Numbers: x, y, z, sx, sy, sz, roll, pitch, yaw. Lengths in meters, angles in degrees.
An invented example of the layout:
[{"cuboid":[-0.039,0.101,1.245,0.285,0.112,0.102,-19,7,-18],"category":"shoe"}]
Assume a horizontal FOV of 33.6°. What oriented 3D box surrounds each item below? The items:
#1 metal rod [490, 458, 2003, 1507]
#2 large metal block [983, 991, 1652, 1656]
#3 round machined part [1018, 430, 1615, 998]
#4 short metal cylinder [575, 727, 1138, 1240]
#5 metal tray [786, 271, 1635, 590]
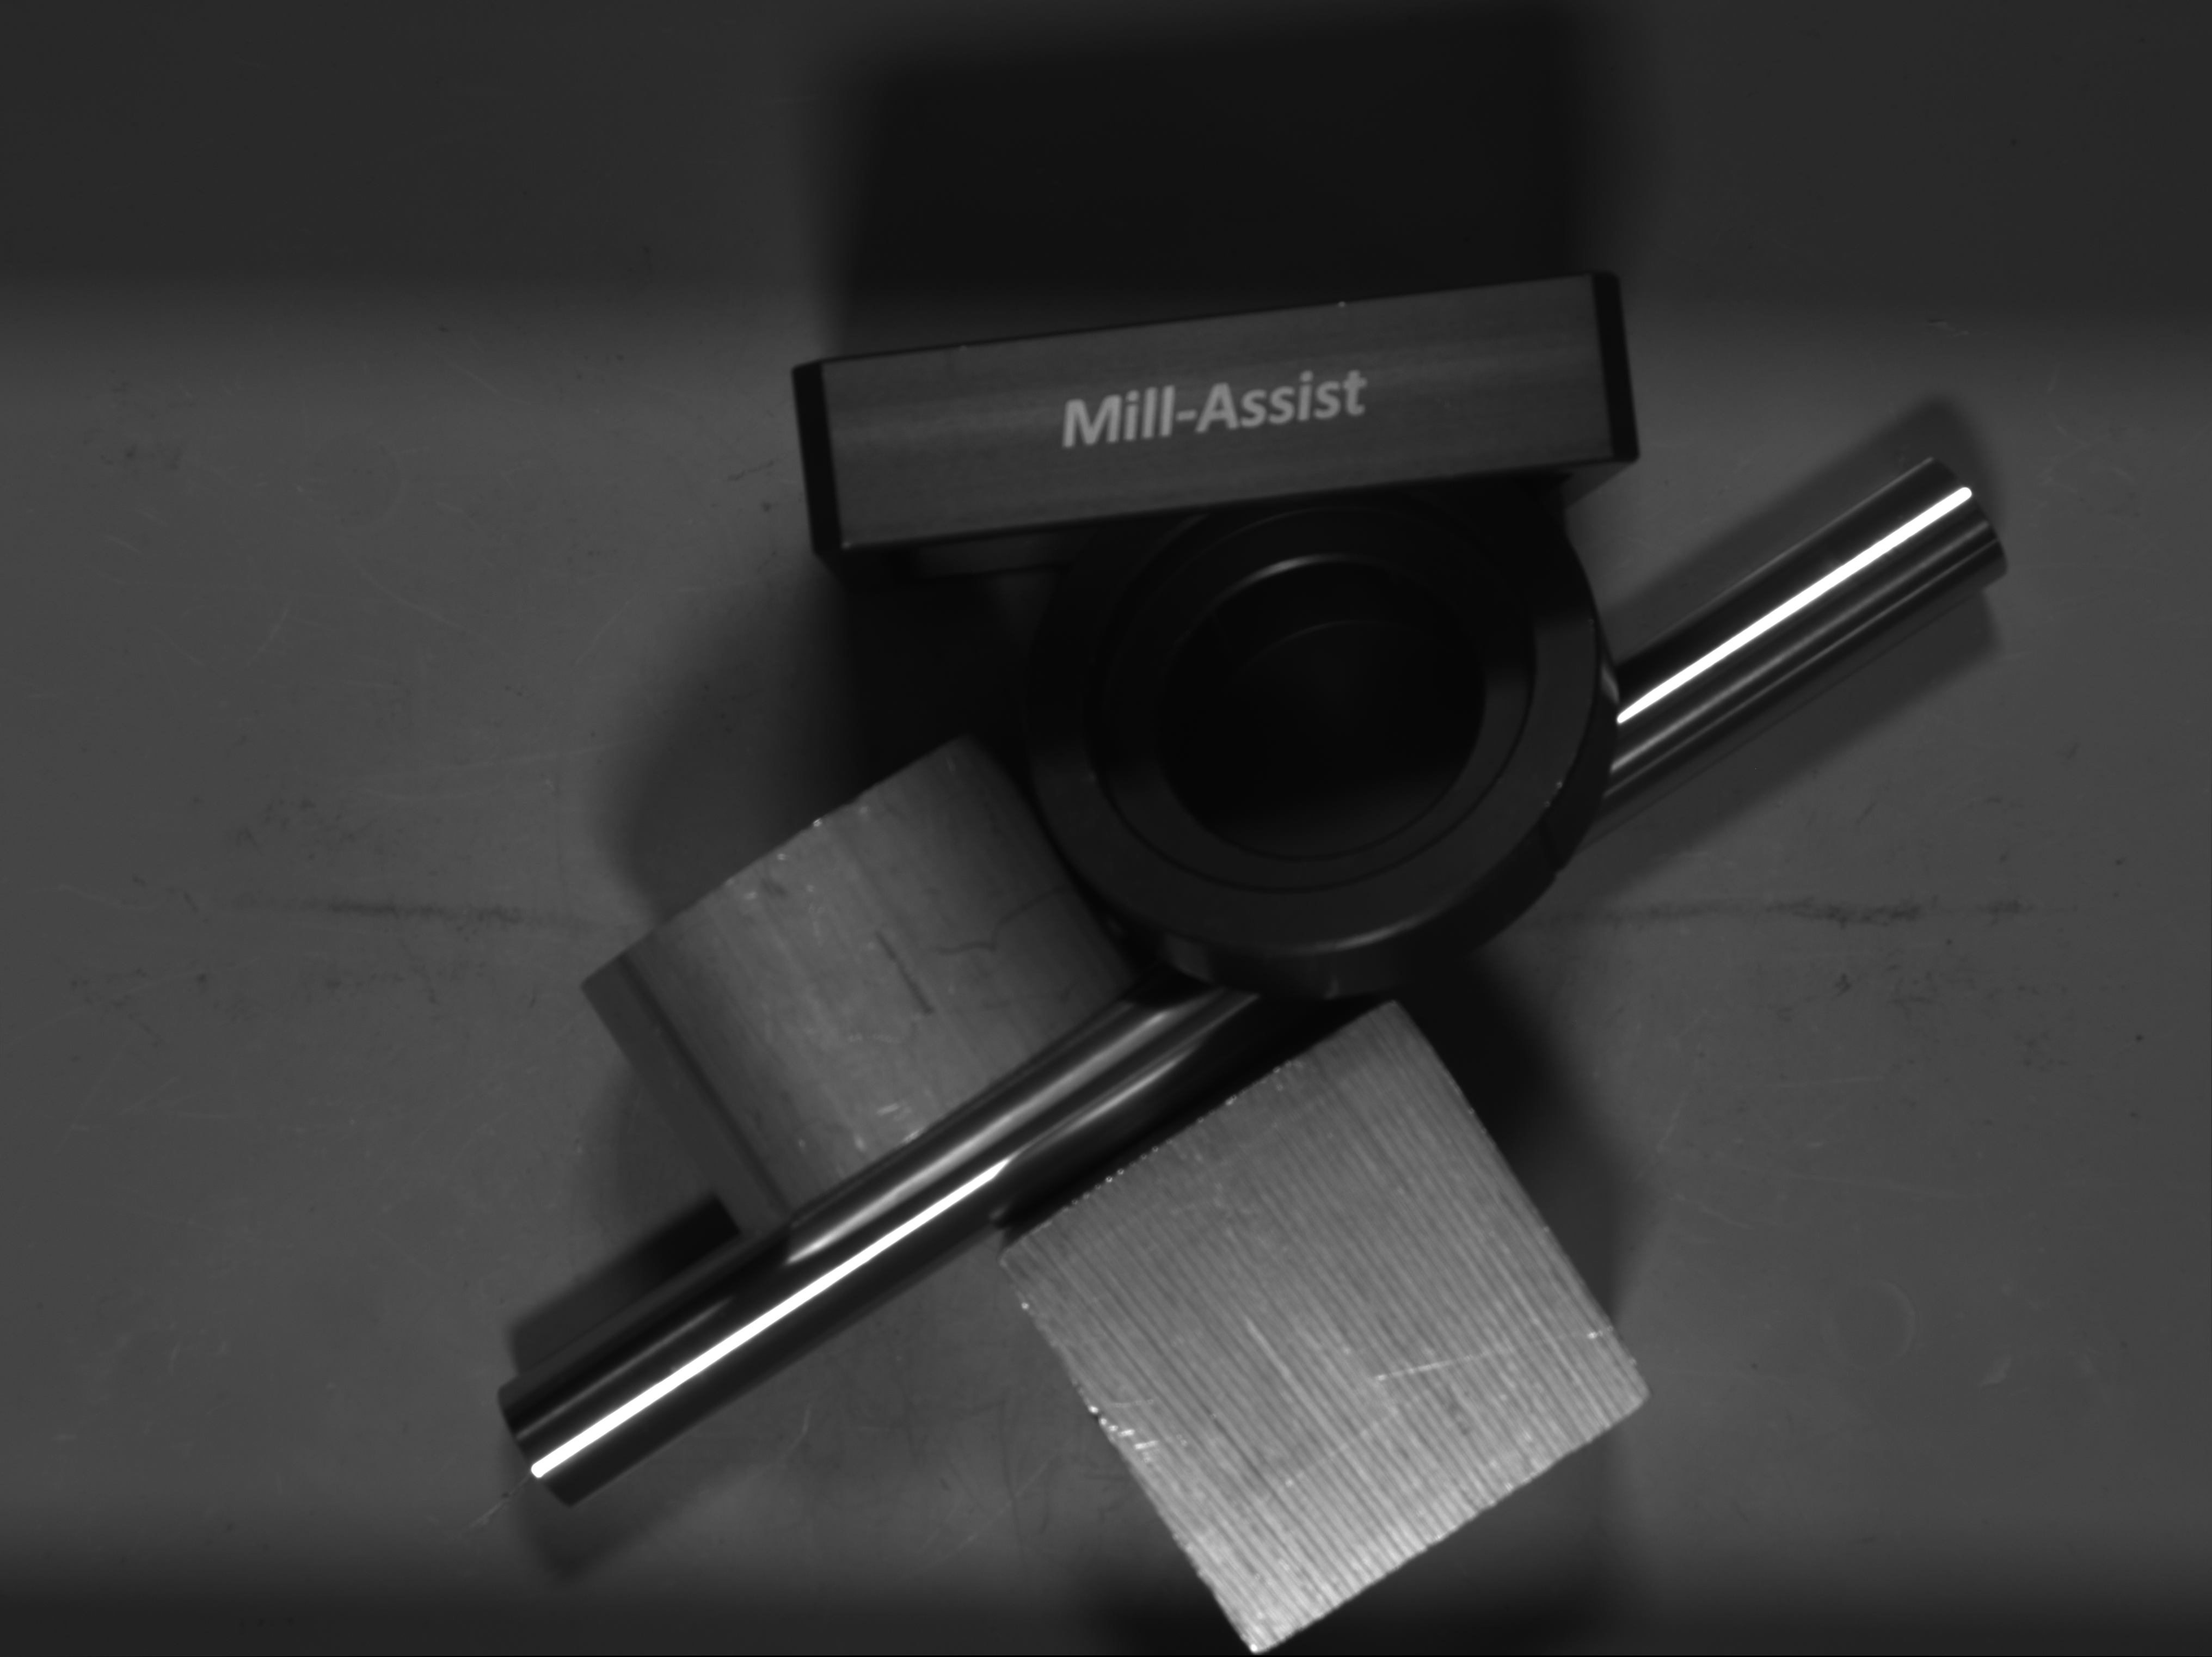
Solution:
[{"cuboid":[0.025,0.027,0.644,0.300,0.025,0.025,-33,90,0],"category":"metal rod"},{"cuboid":[0.035,0.082,0.630,0.080,0.050,0.080,-33,90,0],"category":"large metal block"},{"cuboid":[0.038,-0.016,0.622,0.098,0.042,0.098,-6,64,13],"category":"round machined part"},{"cuboid":[-0.042,0.026,0.616,0.080,0.080,0.050,-34,90,0],"category":"short metal cylinder"},{"cuboid":[0.016,-0.065,0.611,0.130,0.090,0.030,-7,90,-1],"category":"metal tray"}]
